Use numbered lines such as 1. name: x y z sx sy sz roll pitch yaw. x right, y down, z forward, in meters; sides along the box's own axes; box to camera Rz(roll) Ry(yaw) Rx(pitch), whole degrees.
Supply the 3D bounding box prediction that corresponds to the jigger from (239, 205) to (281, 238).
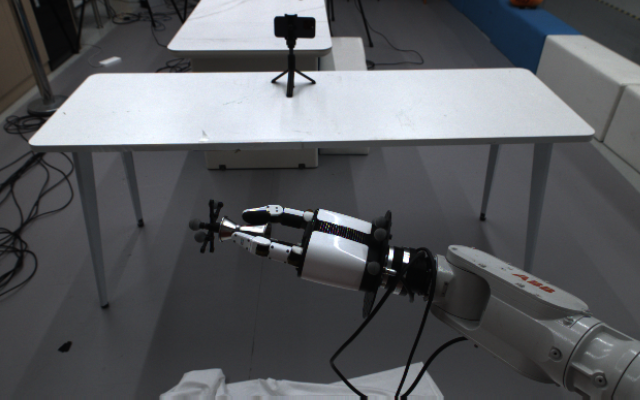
1. jigger: -0.102 0.043 0.713 0.071 0.043 0.043 8 35 6
